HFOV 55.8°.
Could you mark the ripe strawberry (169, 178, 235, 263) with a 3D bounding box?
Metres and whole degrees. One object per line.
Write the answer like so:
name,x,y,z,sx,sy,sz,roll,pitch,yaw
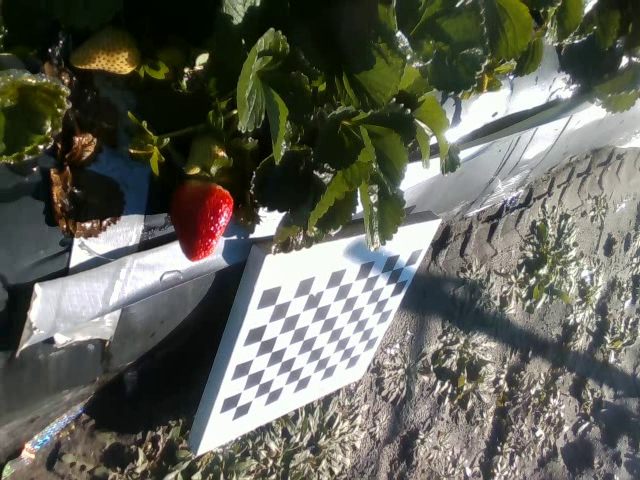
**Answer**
ripe strawberry,-0.095,-0.011,0.487,0.058,0.065,0.061,-7,-20,21
